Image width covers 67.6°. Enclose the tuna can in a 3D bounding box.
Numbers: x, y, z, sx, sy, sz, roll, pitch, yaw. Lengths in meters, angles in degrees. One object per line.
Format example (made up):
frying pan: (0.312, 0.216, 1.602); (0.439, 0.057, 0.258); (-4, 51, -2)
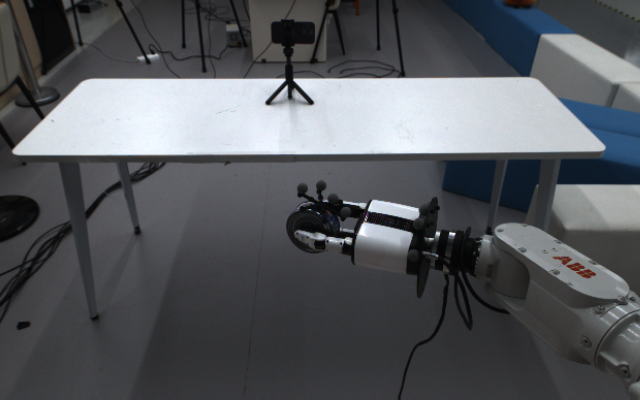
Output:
tuna can: (-0.011, 0.045, 0.804); (0.085, 0.085, 0.034); (15, 31, 18)
